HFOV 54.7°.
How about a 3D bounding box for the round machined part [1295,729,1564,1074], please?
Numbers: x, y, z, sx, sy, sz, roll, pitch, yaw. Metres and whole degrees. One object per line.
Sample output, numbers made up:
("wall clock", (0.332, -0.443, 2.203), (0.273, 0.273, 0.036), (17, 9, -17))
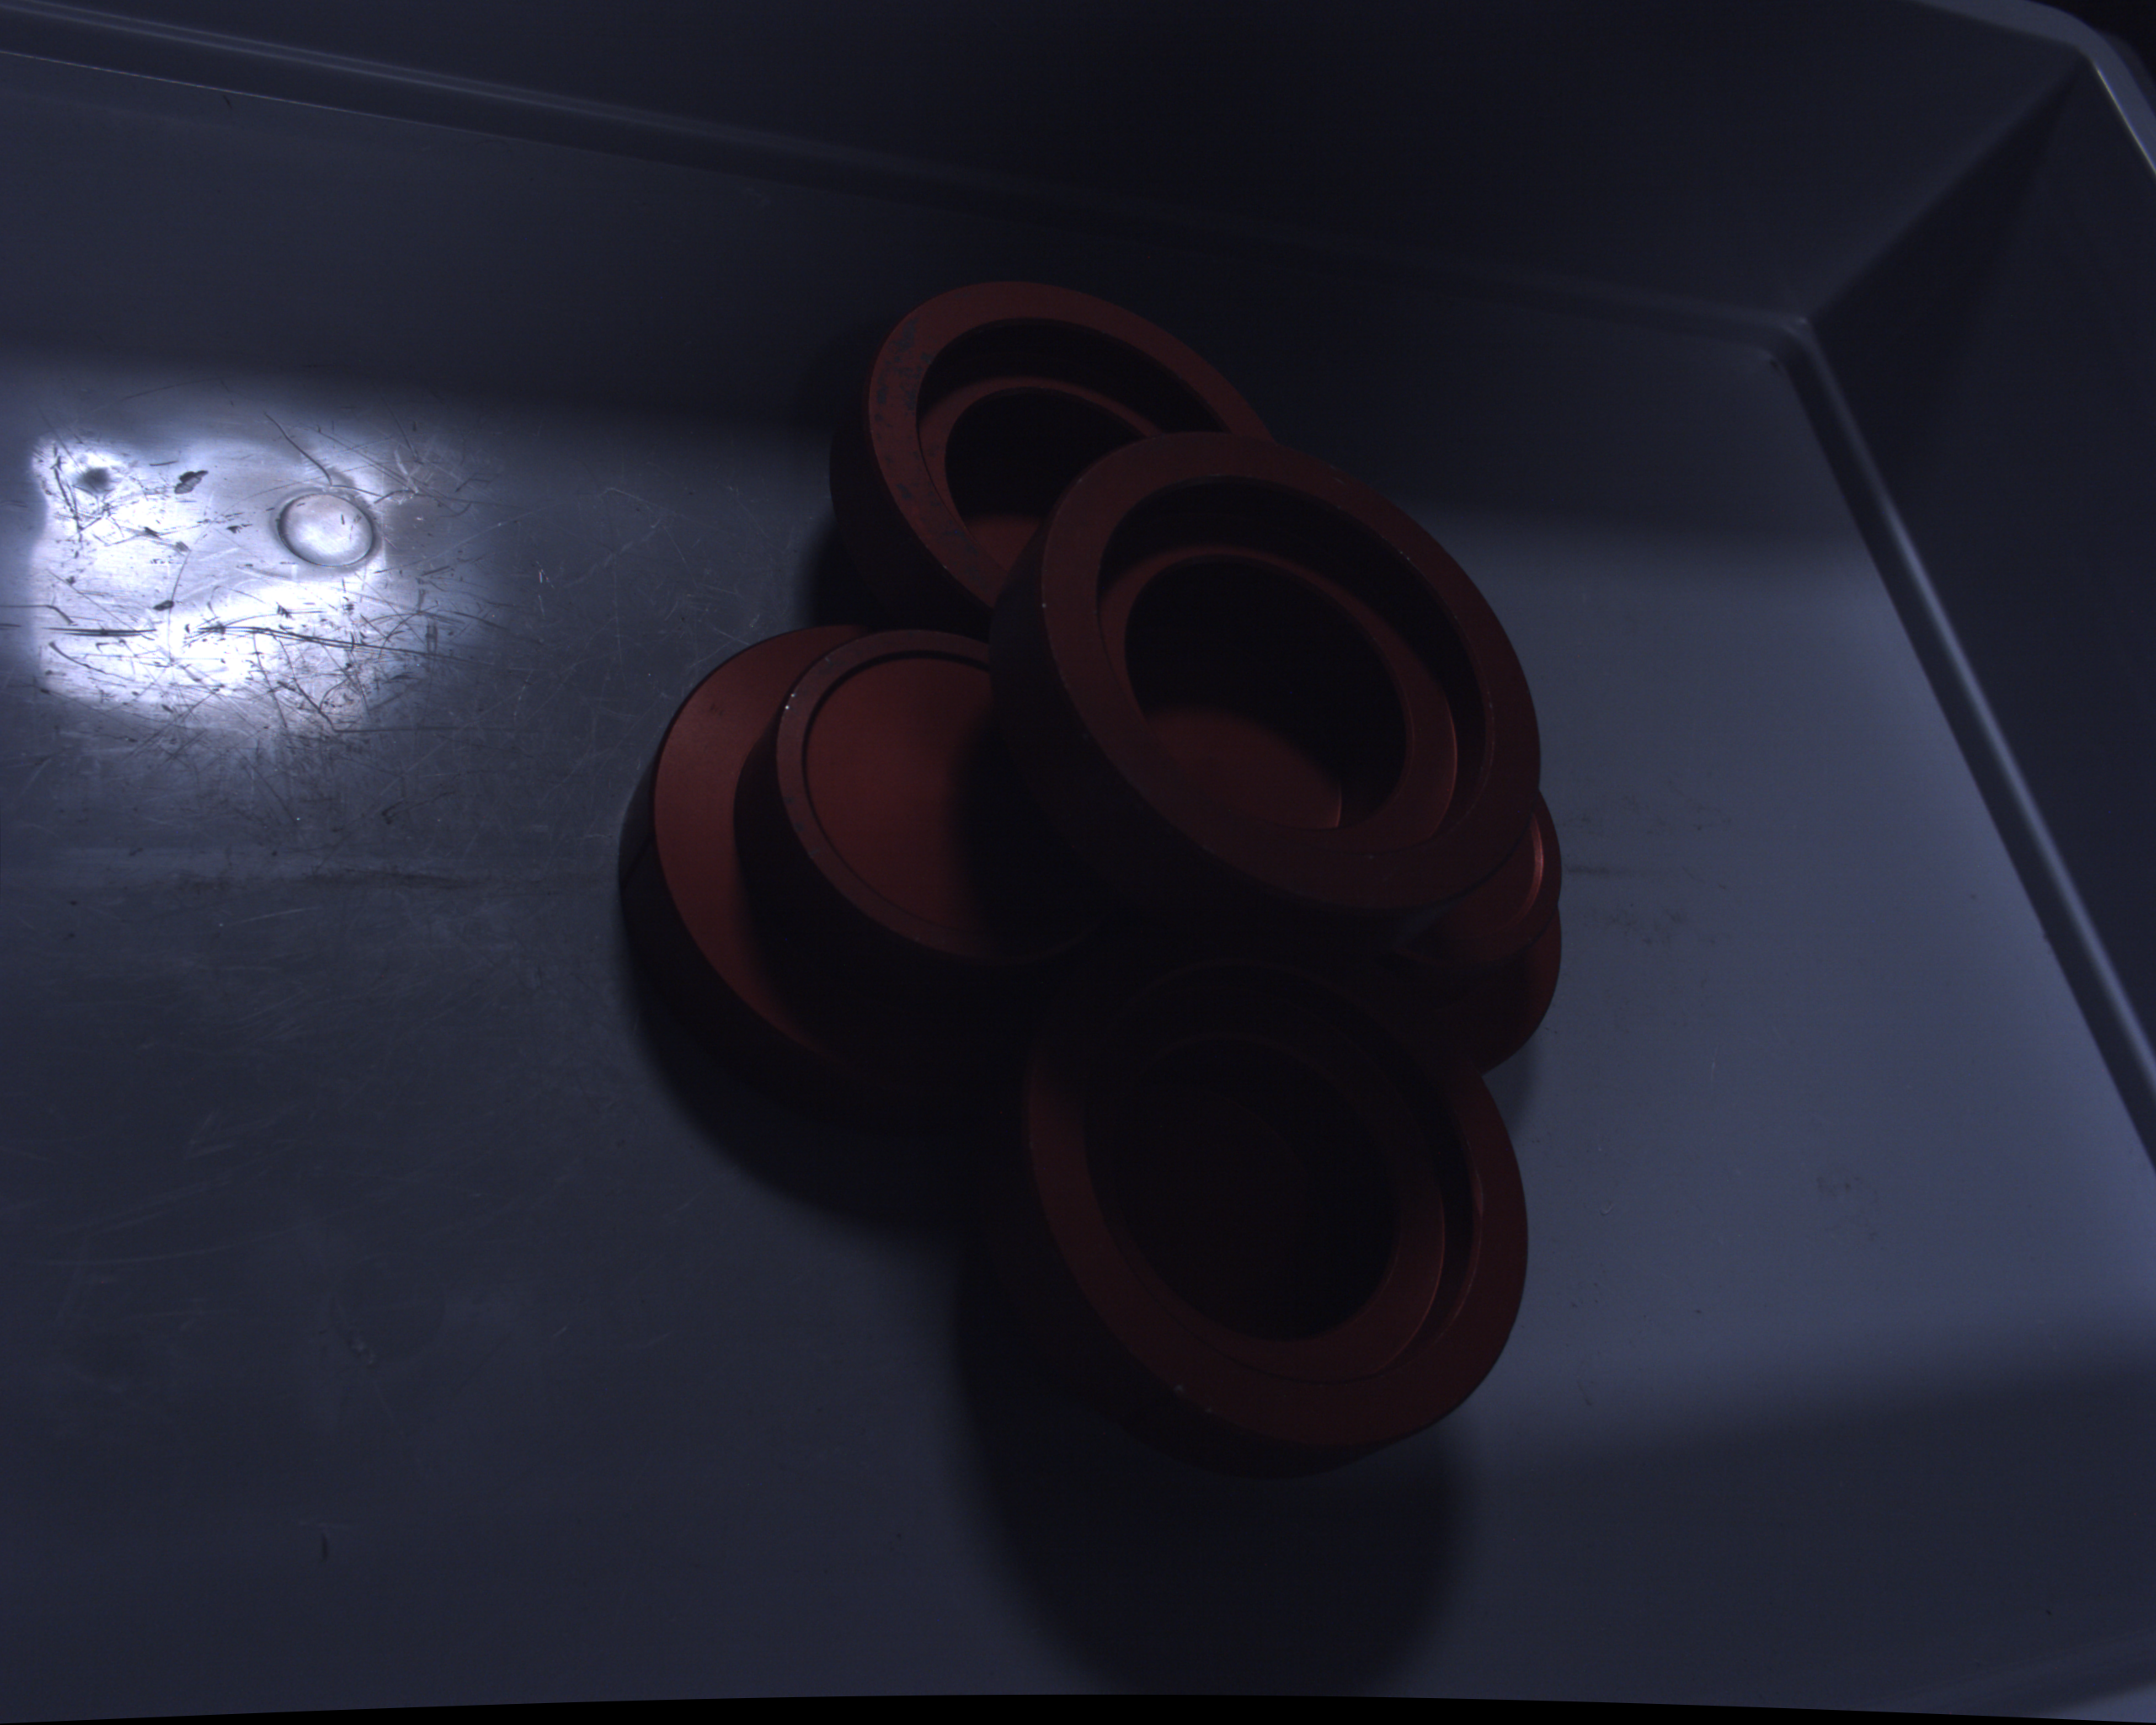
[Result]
("round machined part", (0.059, 0.000, 0.425), (0.099, 0.042, 0.098), (14, 56, -21))

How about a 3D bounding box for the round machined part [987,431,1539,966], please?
("round machined part", (0.029, -0.025, 0.371), (0.099, 0.042, 0.098), (14, 56, -21))

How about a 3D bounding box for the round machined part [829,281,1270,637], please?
("round machined part", (-0.005, -0.069, 0.433), (0.099, 0.042, 0.098), (14, 56, -21))

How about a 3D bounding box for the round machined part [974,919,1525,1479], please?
("round machined part", (0.027, 0.061, 0.371), (0.099, 0.042, 0.098), (14, 56, -21))

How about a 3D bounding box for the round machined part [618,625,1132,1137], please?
("round machined part", (-0.030, -0.003, 0.380), (0.099, 0.042, 0.098), (14, 56, -21))
